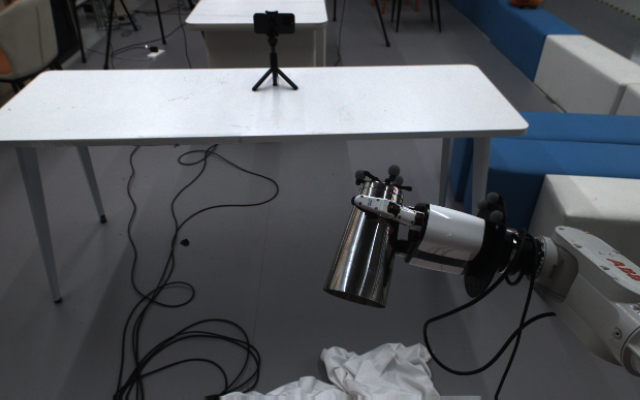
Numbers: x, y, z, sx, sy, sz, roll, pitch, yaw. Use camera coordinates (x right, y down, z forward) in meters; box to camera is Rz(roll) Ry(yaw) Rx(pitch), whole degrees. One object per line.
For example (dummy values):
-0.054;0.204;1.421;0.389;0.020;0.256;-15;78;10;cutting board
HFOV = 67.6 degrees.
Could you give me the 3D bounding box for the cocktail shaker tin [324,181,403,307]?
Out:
0.072;0.059;0.711;0.093;0.093;0.170;12;72;14;cocktail shaker tin
